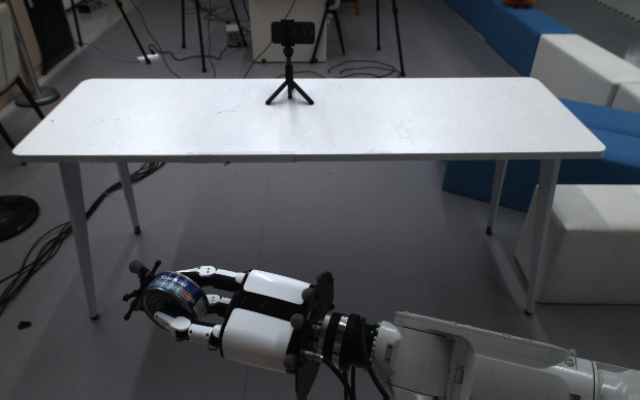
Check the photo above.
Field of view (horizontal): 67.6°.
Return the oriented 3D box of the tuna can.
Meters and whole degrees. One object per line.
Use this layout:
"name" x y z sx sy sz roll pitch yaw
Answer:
"tuna can" -0.192 0.138 0.647 0.085 0.085 0.034 11 36 13
